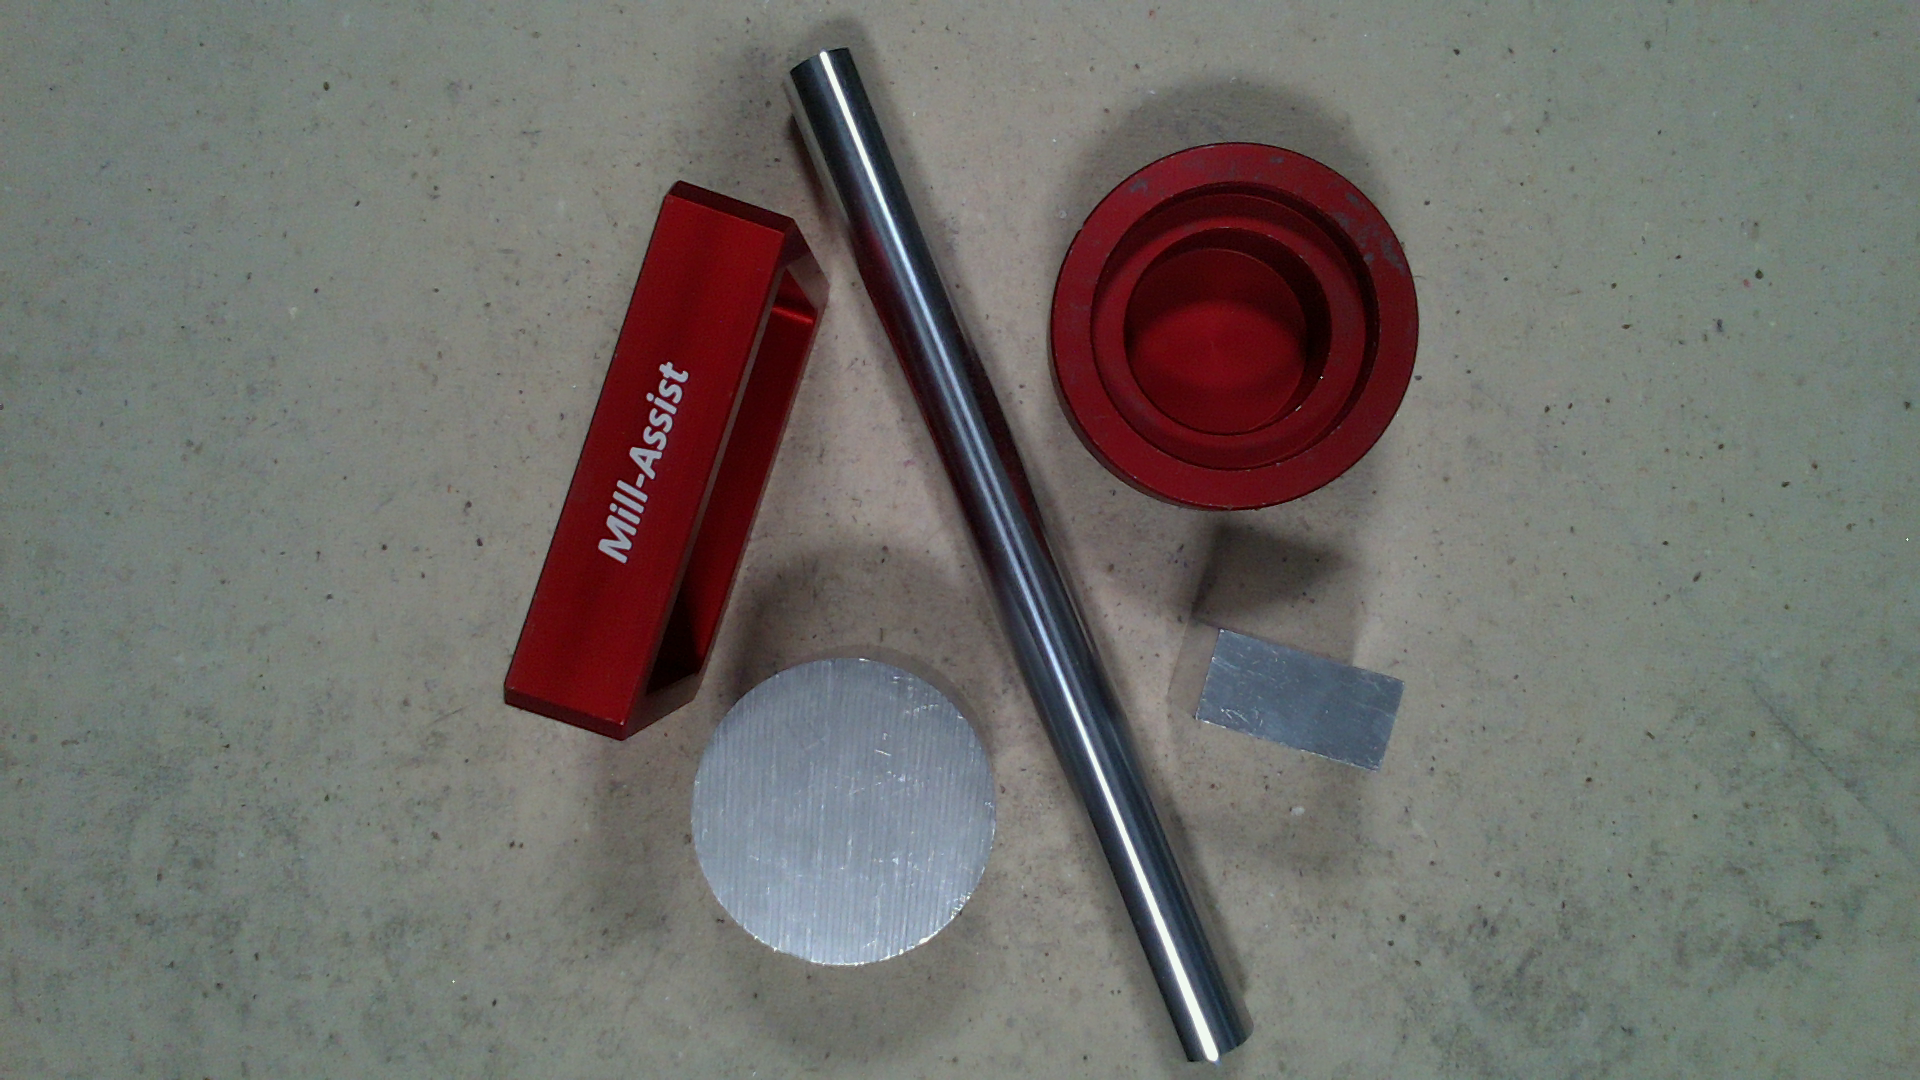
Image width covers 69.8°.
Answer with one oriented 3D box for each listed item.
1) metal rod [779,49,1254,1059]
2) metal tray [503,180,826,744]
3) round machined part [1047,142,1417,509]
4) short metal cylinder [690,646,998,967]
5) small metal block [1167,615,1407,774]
[{"bbox_3d":[0.016,0.004,0.396,0.025,0.025,0.300,-22,90,0],"label":"metal rod"},{"bbox_3d":[-0.073,-0.018,0.363,0.030,0.090,0.130,18,90,0],"label":"metal tray"},{"bbox_3d":[0.073,-0.057,0.387,0.098,0.042,0.098,0,90,0],"label":"round machined part"},{"bbox_3d":[-0.030,0.071,0.383,0.080,0.050,0.080,0,90,0],"label":"short metal cylinder"},{"bbox_3d":[0.088,0.041,0.381,0.050,0.050,0.025,17,90,0],"label":"small metal block"}]
